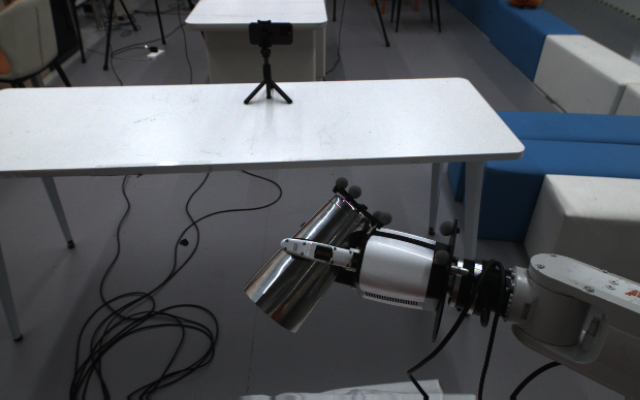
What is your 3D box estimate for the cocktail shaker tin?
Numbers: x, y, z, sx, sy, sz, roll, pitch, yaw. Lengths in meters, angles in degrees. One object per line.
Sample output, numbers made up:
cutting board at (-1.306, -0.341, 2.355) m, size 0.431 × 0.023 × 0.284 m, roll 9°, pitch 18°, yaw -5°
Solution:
cocktail shaker tin at (-0.009, 0.075, 0.641) m, size 0.170 × 0.093 × 0.093 m, roll -48°, pitch 49°, yaw -3°
